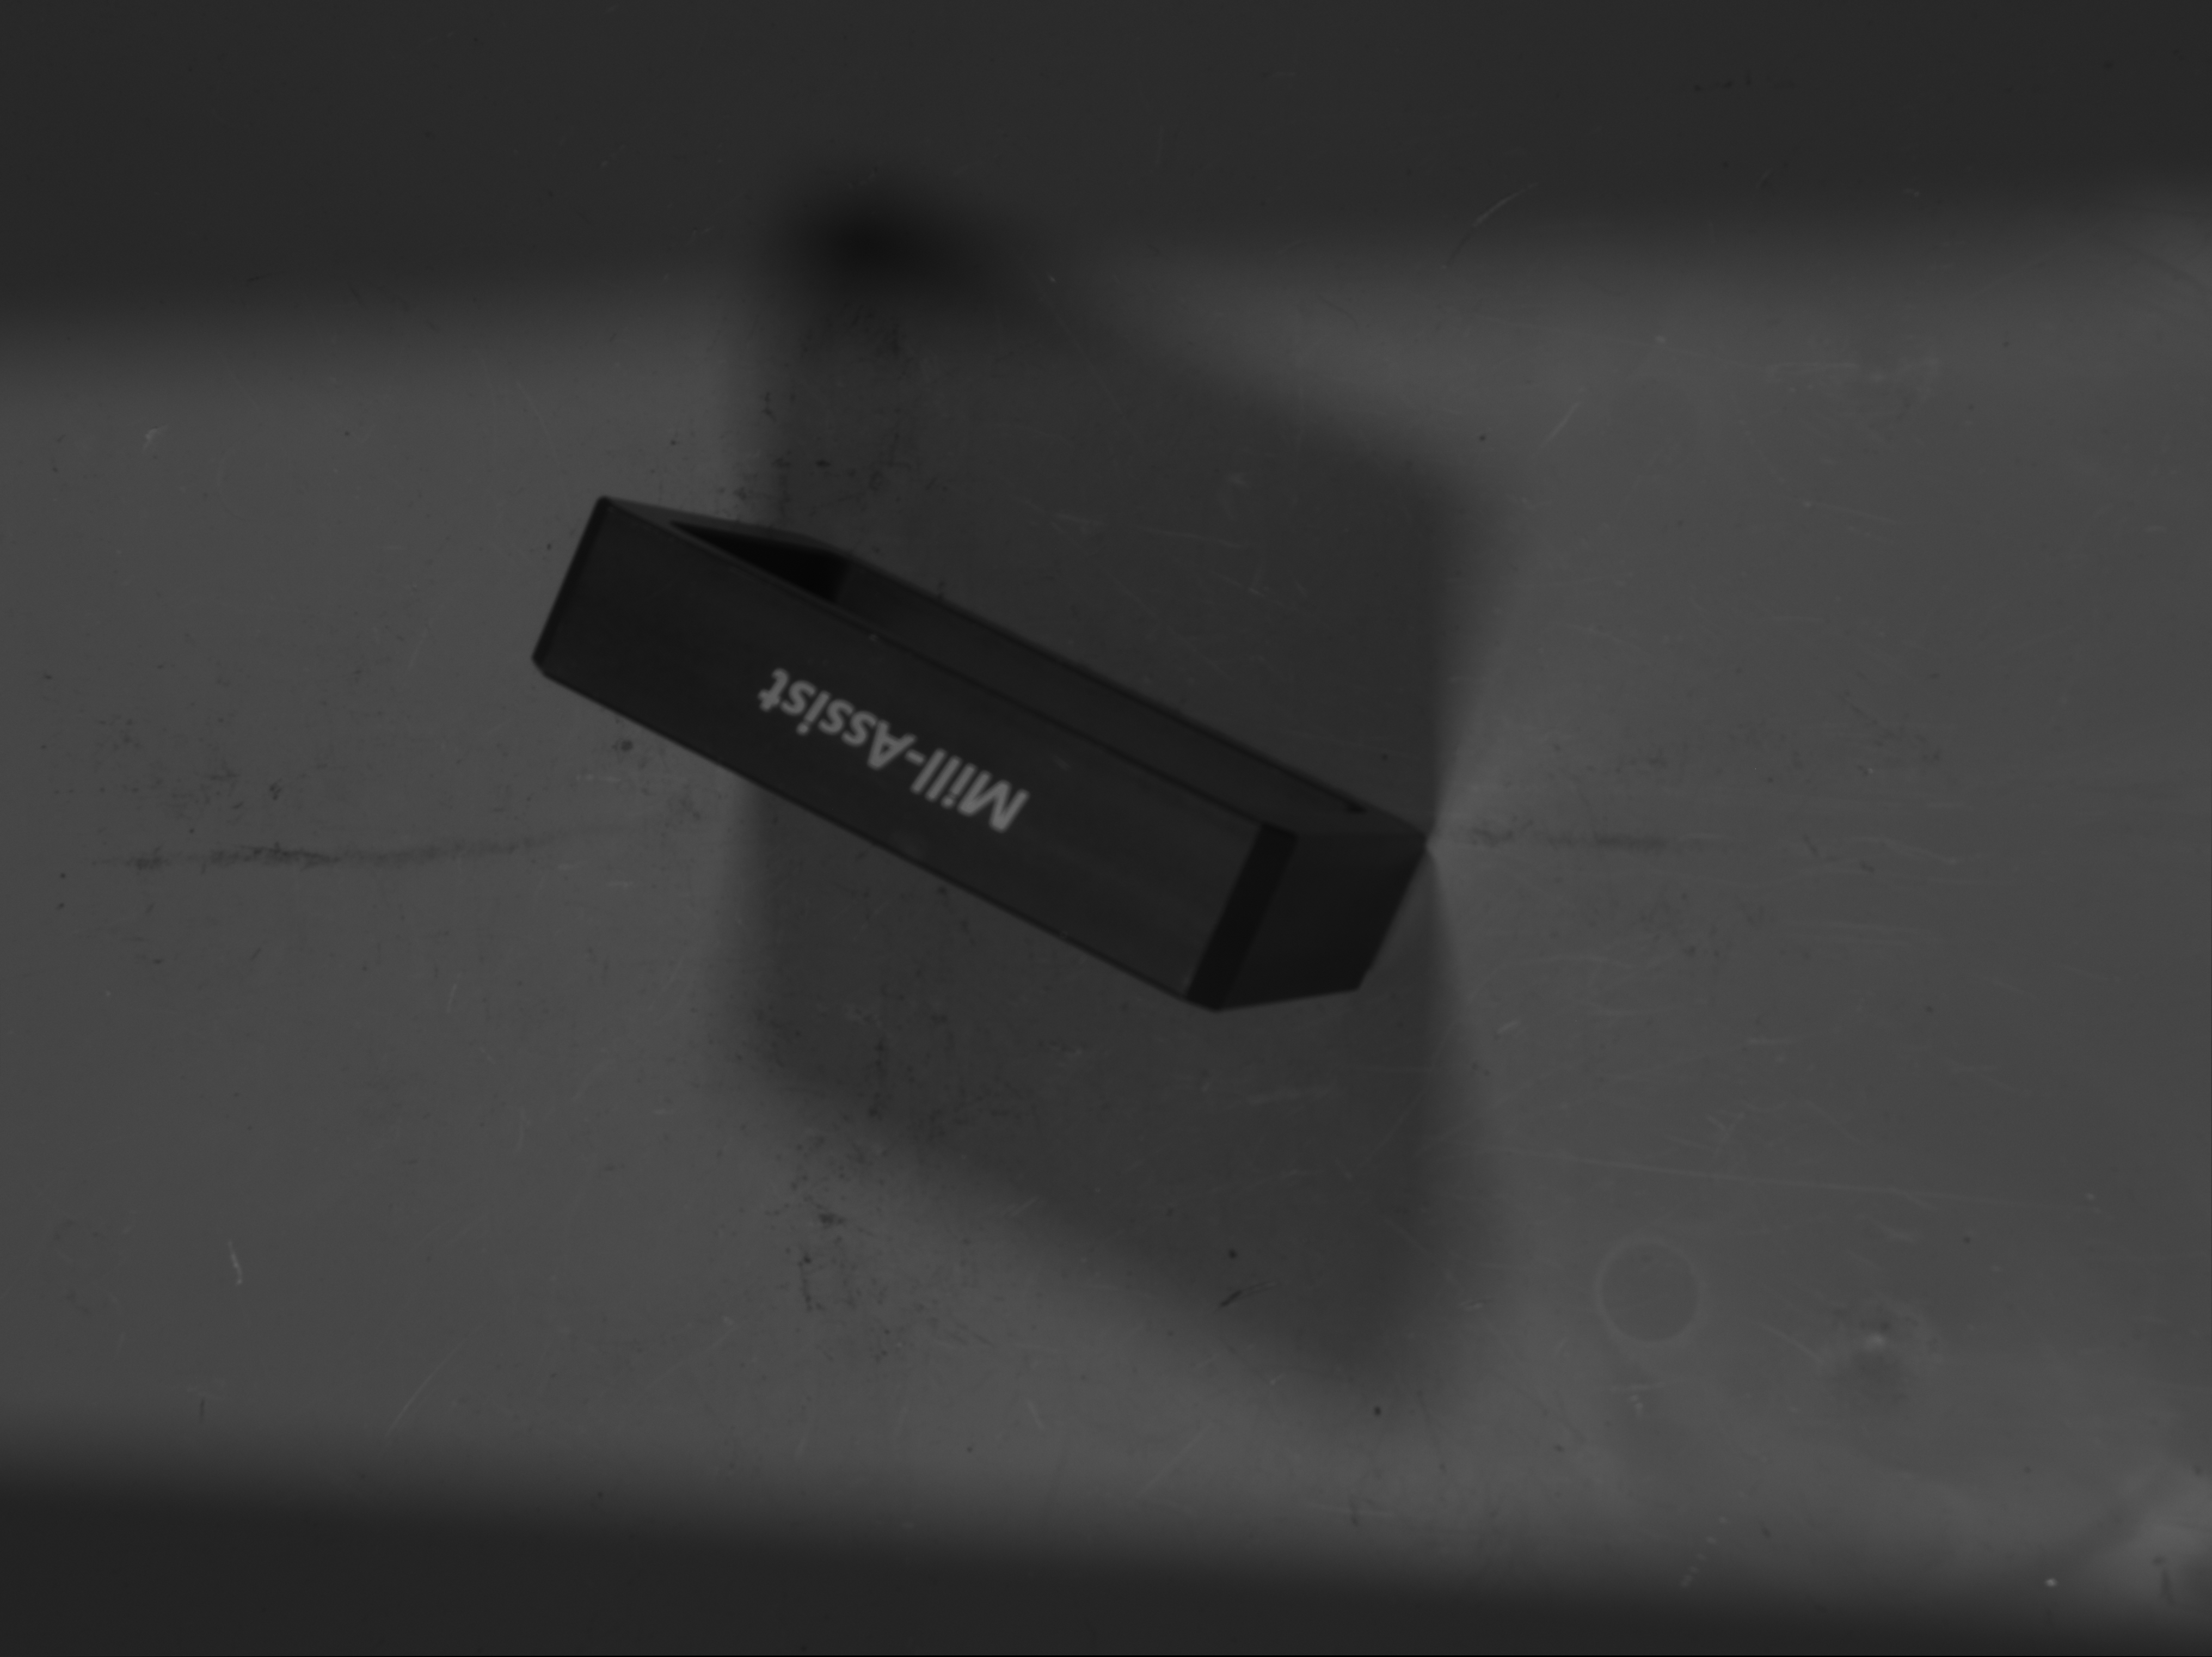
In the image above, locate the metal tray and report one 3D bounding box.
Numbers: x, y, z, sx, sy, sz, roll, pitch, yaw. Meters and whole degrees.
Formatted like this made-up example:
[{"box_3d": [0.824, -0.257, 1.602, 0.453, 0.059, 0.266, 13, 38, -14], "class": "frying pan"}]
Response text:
[{"box_3d": [-0.016, -0.012, 0.612, 0.130, 0.090, 0.030, 26, 99, 17], "class": "metal tray"}]
